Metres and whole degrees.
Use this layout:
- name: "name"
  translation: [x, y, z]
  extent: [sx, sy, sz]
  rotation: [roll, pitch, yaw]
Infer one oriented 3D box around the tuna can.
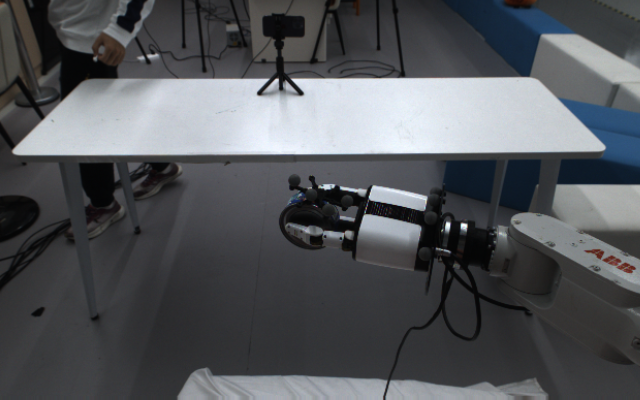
- name: "tuna can"
  translation: [-0.015, 0.031, 0.717]
  extent: [0.085, 0.085, 0.034]
  rotation: [9, 35, 10]
